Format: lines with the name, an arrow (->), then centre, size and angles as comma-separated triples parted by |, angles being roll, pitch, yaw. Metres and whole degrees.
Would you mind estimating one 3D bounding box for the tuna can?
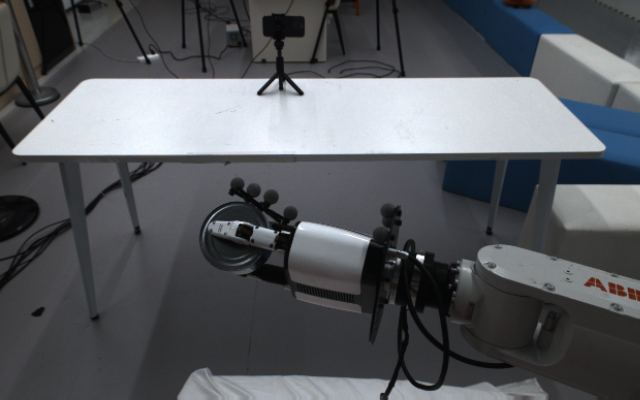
tuna can -> -0.098, 0.047, 0.587 | 0.085, 0.034, 0.085 | -2, 71, 6
